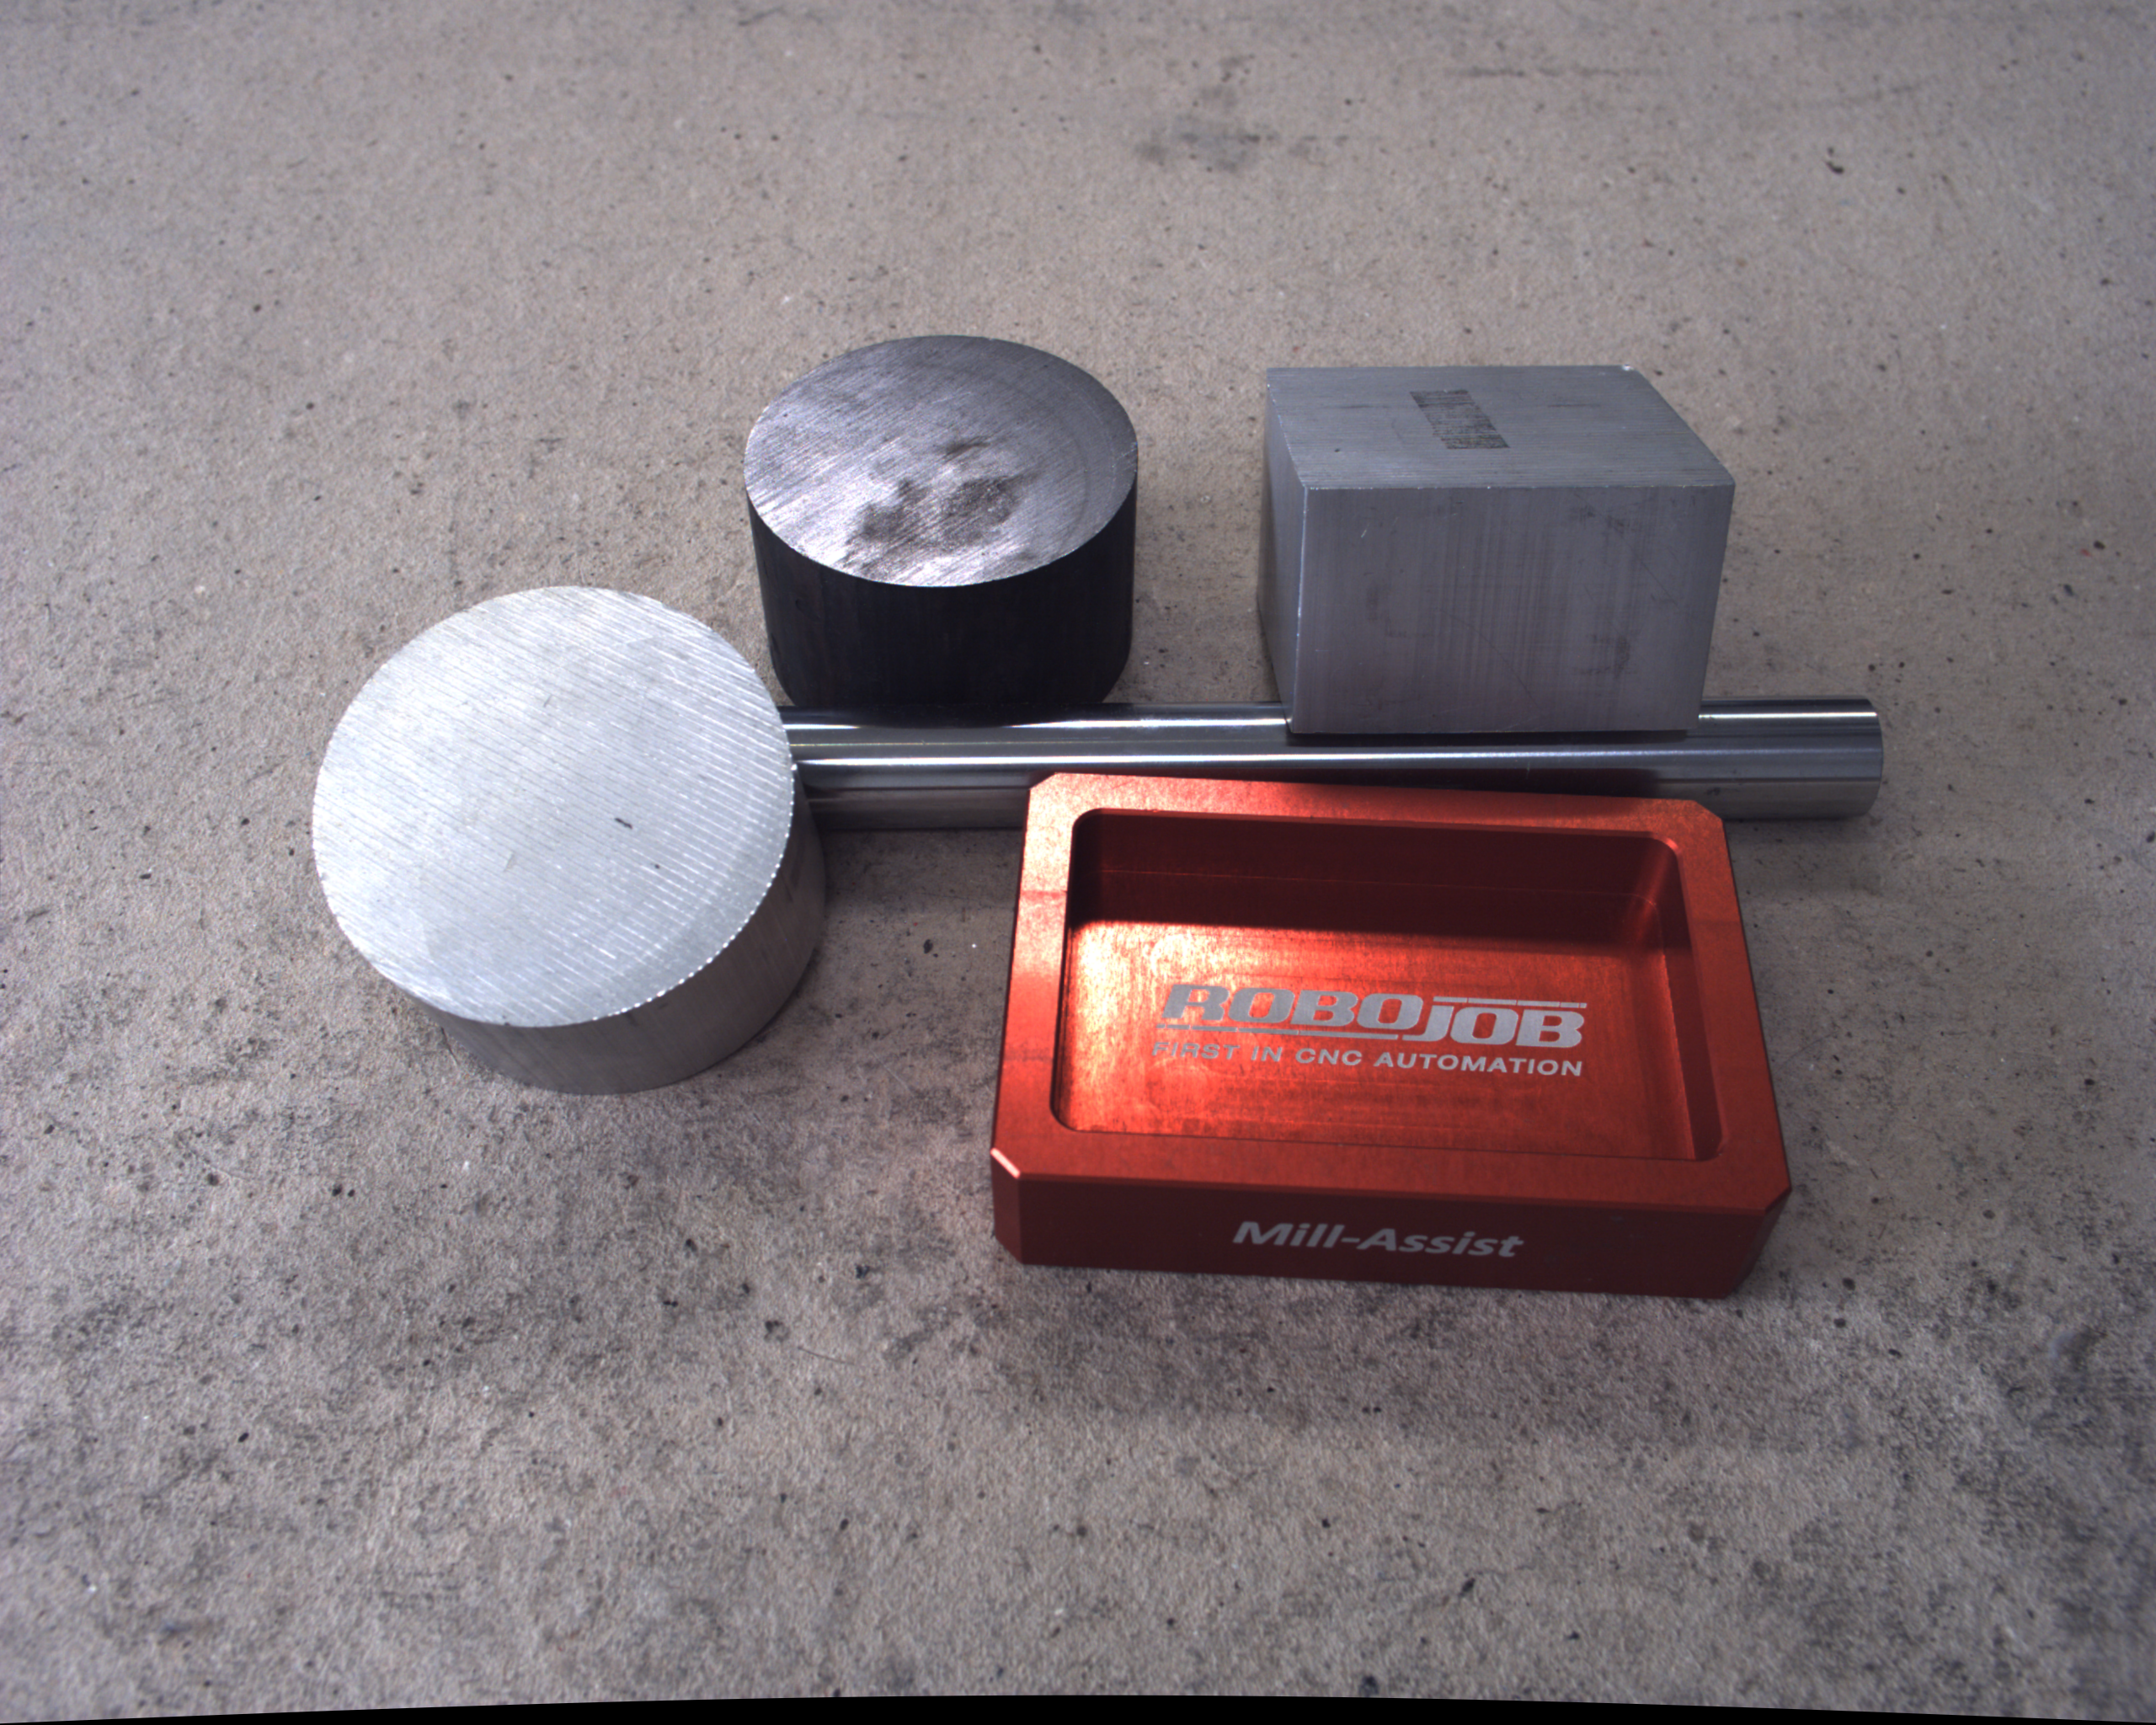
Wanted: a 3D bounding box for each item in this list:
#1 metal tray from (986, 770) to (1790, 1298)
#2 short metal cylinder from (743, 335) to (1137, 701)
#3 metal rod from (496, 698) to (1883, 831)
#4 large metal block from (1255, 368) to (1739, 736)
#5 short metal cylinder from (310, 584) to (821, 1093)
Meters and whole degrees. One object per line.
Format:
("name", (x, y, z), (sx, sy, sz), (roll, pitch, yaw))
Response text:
("metal tray", (0.053, 0.028, 0.377), (0.131, 0.030, 0.090), (3, 50, 2))
("short metal cylinder", (-0.028, -0.068, 0.446), (0.081, 0.050, 0.080), (0, 49, 0))
("metal rod", (0.008, -0.019, 0.422), (0.302, 0.025, 0.025), (-1, 50, -1))
("large metal block", (0.080, -0.066, 0.428), (0.081, 0.050, 0.080), (0, 29, -1))
("short metal cylinder", (-0.089, -0.003, 0.374), (0.081, 0.050, 0.080), (0, 71, -1))
